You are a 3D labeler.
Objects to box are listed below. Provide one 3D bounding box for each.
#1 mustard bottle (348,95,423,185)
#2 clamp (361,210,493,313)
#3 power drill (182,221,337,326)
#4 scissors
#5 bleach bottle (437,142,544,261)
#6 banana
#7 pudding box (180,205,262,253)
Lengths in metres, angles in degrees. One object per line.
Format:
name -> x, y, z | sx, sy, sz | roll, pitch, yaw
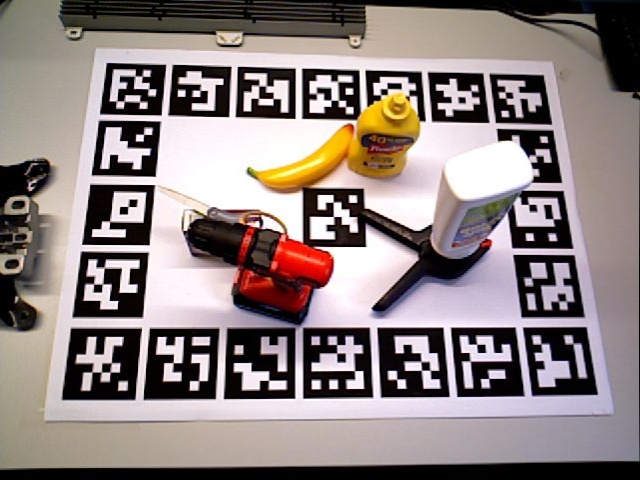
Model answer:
mustard bottle -> 0.103, -0.150, 0.800 | 0.096, 0.194, 0.058 | 15, 69, -1
clamp -> 0.171, 0.019, 0.811 | 0.201, 0.037, 0.164 | -5, 74, -7
power drill -> -0.075, 0.044, 0.690 | 0.184, 0.190, 0.056 | 13, 63, 3
scissors -> -0.144, -0.040, 0.727 | 0.202, 0.016, 0.087 | 26, 76, 0
bleach bottle -> 0.215, -0.031, 0.718 | 0.102, 0.254, 0.067 | -18, 69, -4
banana -> -0.011, -0.143, 0.860 | 0.195, 0.039, 0.074 | -38, 61, -14
pudding box -> -0.141, -0.010, 0.786 | 0.113, 0.092, 0.038 | 6, 63, -3
